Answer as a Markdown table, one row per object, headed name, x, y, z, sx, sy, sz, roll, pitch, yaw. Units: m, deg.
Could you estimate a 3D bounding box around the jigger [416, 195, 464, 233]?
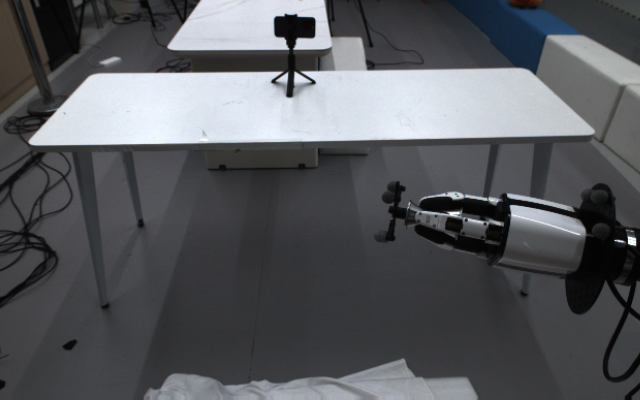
| name | x | y | z | sx | sy | sz | roll | pitch | yaw |
| --- | --- | --- | --- | --- | --- | --- | --- | --- | --- |
| jigger | 0.154 | 0.021 | 0.631 | 0.071 | 0.043 | 0.043 | 10 | 35 | 16 |
